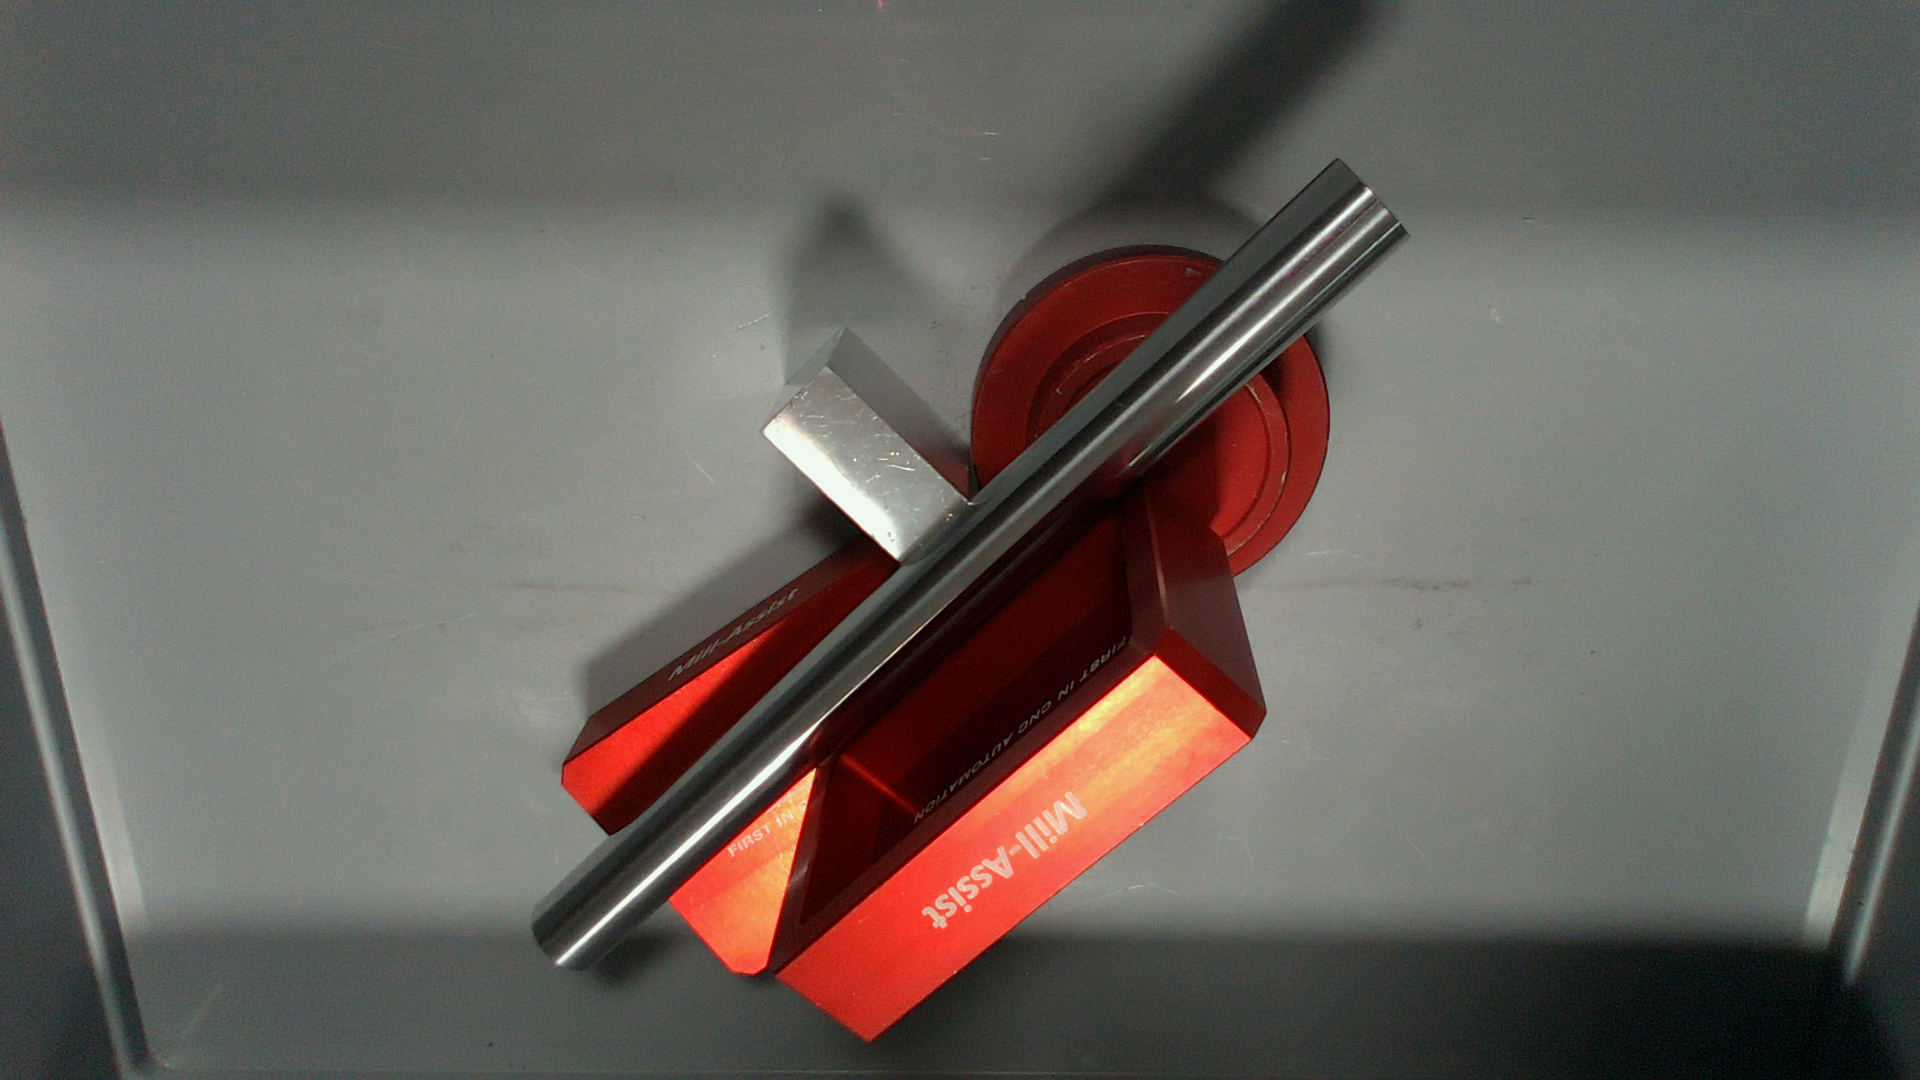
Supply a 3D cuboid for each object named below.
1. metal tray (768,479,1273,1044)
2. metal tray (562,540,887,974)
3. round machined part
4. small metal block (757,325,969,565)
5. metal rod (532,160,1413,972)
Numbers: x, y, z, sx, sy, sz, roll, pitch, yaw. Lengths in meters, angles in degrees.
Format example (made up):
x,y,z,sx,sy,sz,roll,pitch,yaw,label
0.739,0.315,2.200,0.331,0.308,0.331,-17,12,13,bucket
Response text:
x,y,z,sx,sy,sz,roll,pitch,yaw,label
0.012,0.050,0.336,0.030,0.090,0.130,40,112,-16,metal tray
-0.040,0.062,0.413,0.130,0.030,0.090,-33,107,11,metal tray
0.052,-0.028,0.373,0.098,0.042,0.098,0,110,0,round machined part
-0.024,-0.027,0.369,0.025,0.050,0.050,-43,105,14,small metal block
-0.010,0.019,0.358,0.025,0.025,0.299,43,109,-14,metal rod
